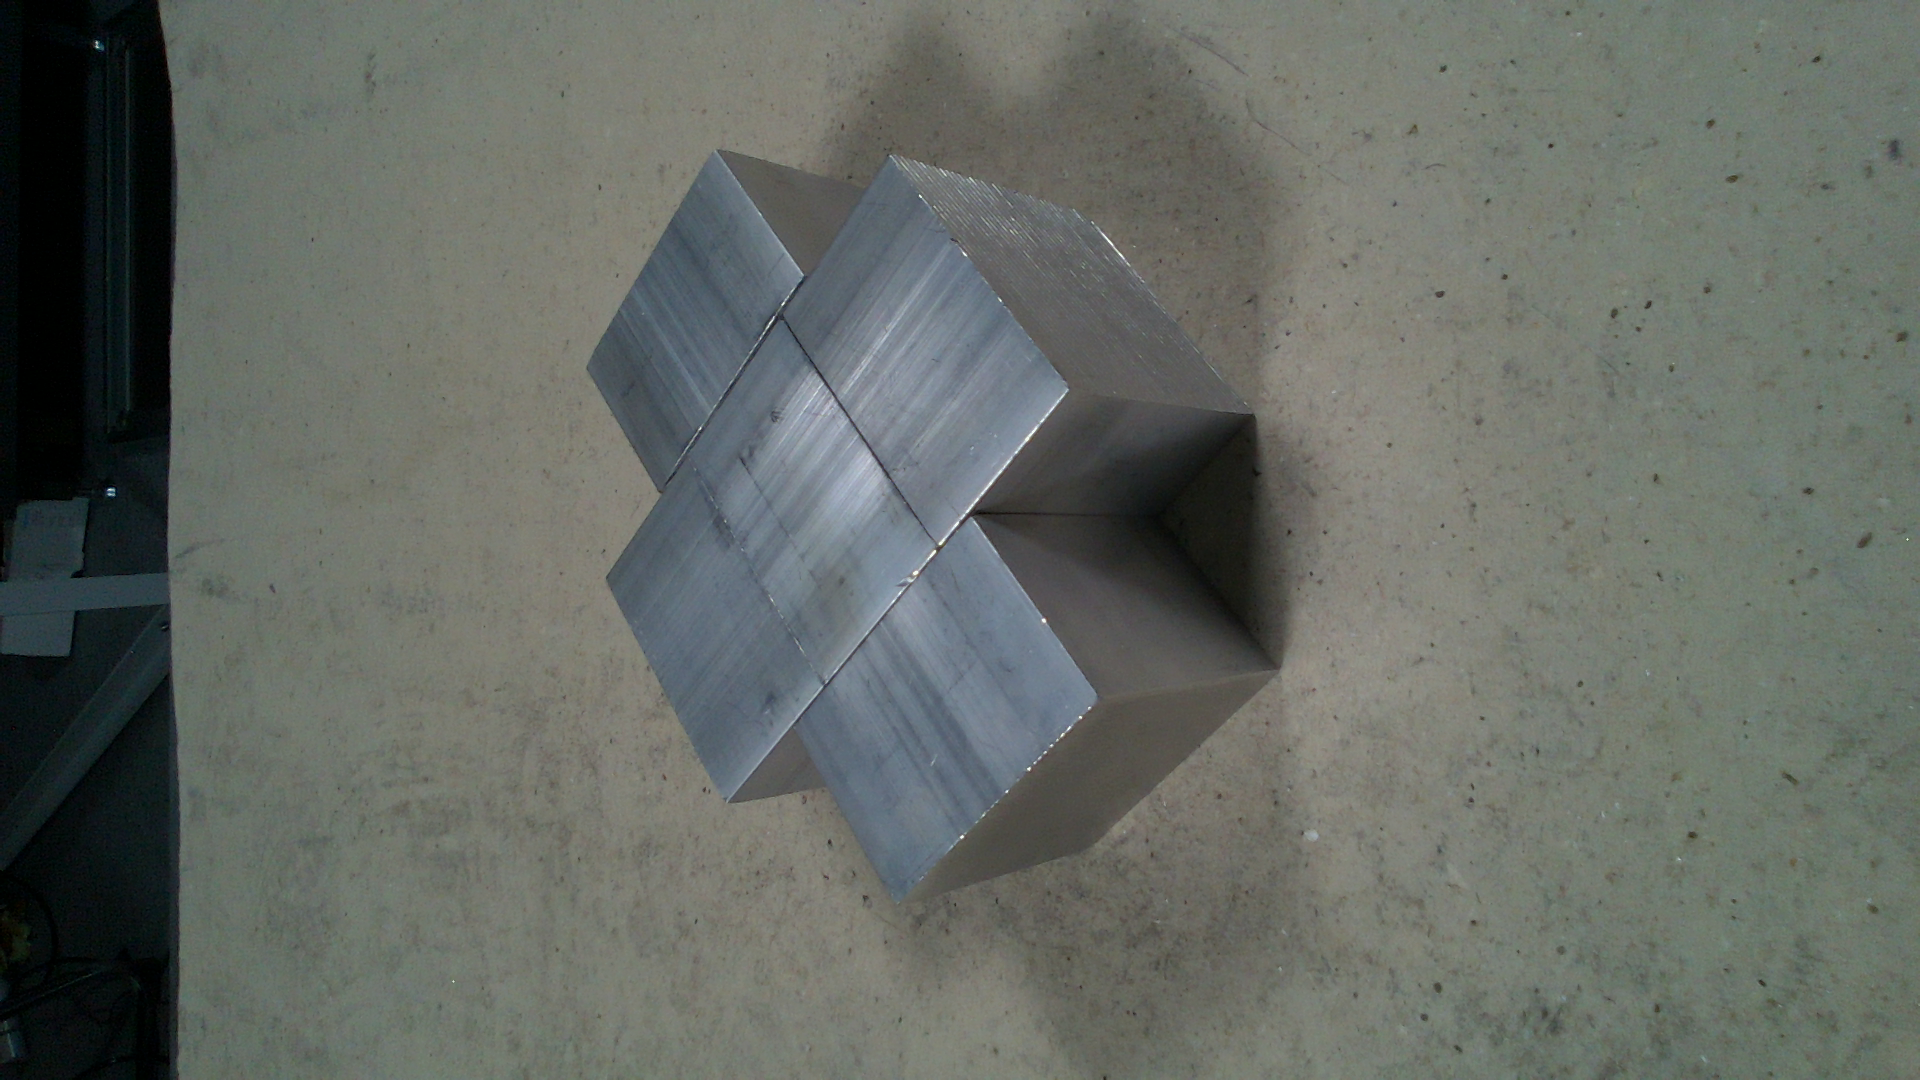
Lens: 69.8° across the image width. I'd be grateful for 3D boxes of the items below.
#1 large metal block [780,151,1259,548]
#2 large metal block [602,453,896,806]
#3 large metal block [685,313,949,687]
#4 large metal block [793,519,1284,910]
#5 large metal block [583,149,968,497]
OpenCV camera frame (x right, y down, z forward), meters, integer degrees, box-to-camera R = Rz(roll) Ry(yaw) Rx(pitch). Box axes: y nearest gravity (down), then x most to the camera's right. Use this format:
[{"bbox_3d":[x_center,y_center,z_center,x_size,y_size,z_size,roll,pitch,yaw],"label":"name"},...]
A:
[{"bbox_3d":[0.015,-0.045,0.347,0.050,0.080,0.080,-50,61,29],"label":"large metal block"},{"bbox_3d":[-0.042,0.023,0.395,0.050,0.080,0.080,-50,61,29],"label":"large metal block"},{"bbox_3d":[-0.013,-0.011,0.371,0.050,0.080,0.080,-50,61,29],"label":"large metal block"},{"bbox_3d":[0.020,0.041,0.343,0.080,0.080,0.050,-50,60,28],"label":"large metal block"},{"bbox_3d":[-0.048,-0.057,0.400,0.080,0.080,0.050,-50,60,28],"label":"large metal block"}]
